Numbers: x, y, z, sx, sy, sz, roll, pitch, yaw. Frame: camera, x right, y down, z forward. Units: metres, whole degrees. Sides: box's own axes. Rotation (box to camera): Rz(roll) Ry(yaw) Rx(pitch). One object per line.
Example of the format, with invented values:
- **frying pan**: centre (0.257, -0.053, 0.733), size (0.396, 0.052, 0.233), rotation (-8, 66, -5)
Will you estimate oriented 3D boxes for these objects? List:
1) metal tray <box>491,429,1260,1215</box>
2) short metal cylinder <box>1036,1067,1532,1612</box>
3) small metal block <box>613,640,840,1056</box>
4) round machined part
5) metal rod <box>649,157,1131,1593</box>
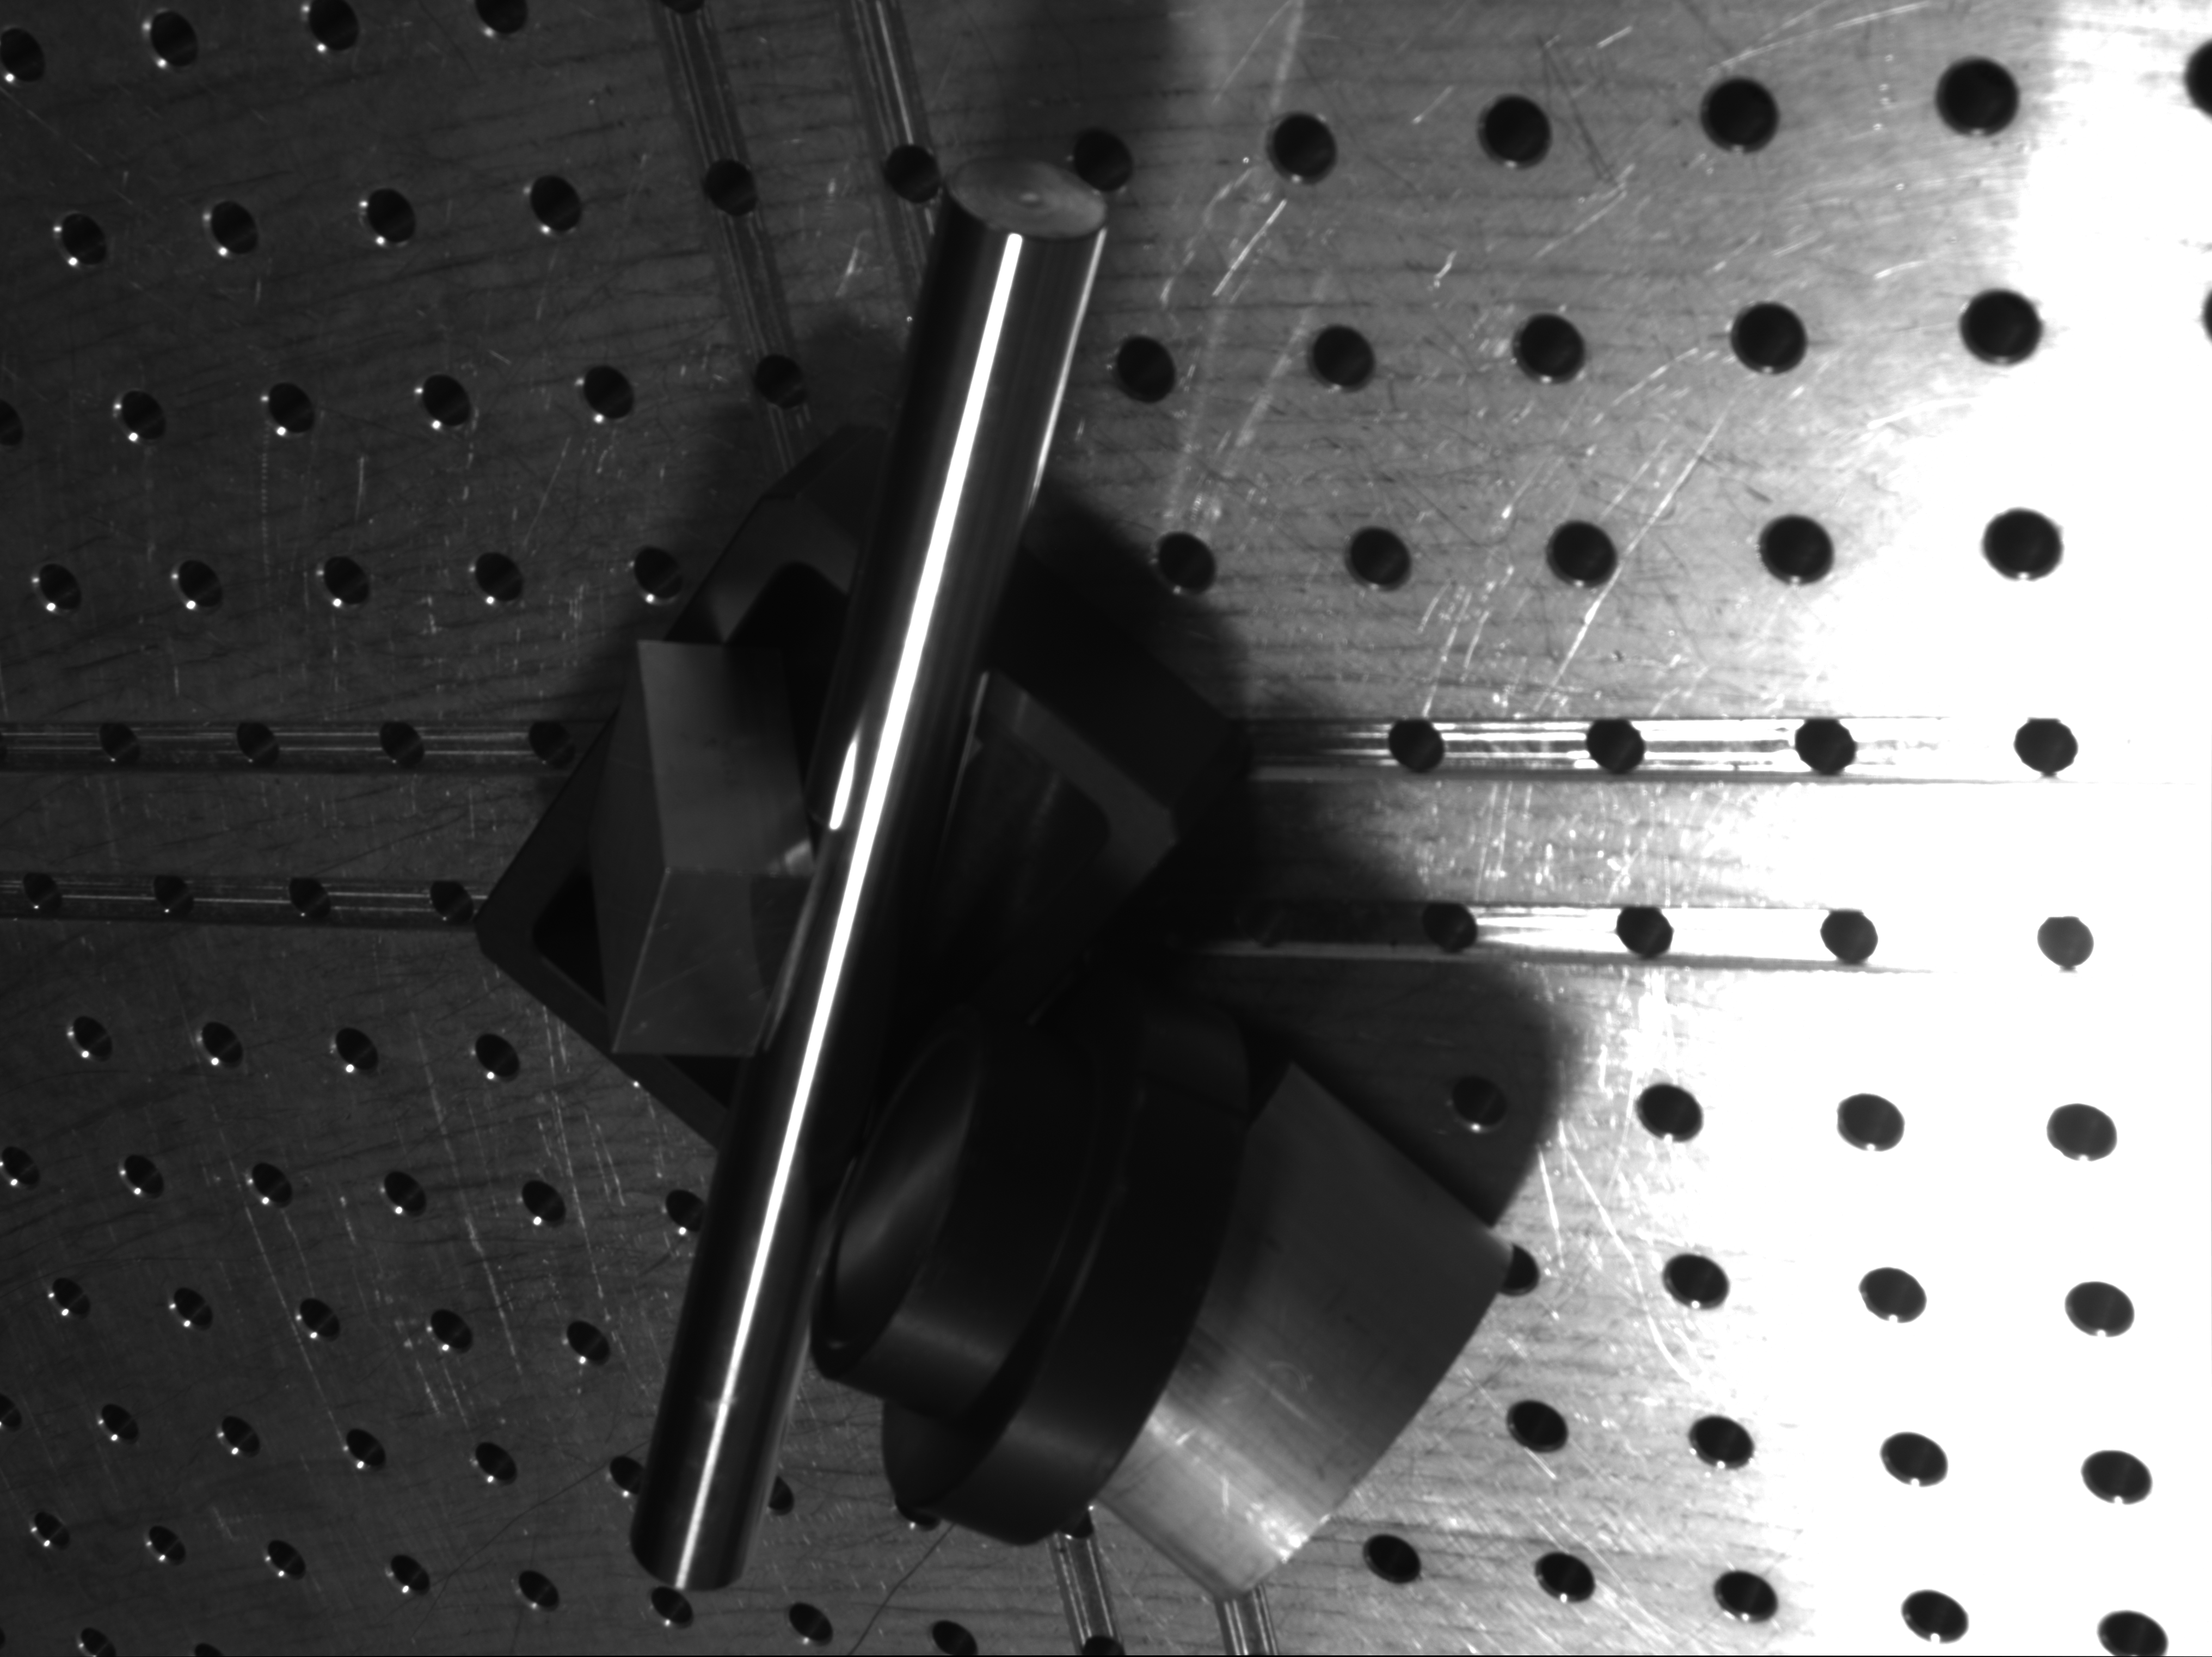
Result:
- **metal tray**: centre (-0.044, 0.003, 0.654), size (0.090, 0.030, 0.130), rotation (40, 128, 0)
- **short metal cylinder**: centre (0.029, 0.088, 0.636), size (0.050, 0.080, 0.080), rotation (40, 128, 0)
- **small metal block**: centre (-0.066, 0.004, 0.626), size (0.025, 0.050, 0.050), rotation (2, 140, -18)
- **round machined part**: centre (-0.014, 0.069, 0.623), size (0.042, 0.098, 0.098), rotation (24, 130, -15)
- **metal rod**: centre (-0.043, 0.023, 0.631), size (0.025, 0.025, 0.300), rotation (25, 127, 12)
